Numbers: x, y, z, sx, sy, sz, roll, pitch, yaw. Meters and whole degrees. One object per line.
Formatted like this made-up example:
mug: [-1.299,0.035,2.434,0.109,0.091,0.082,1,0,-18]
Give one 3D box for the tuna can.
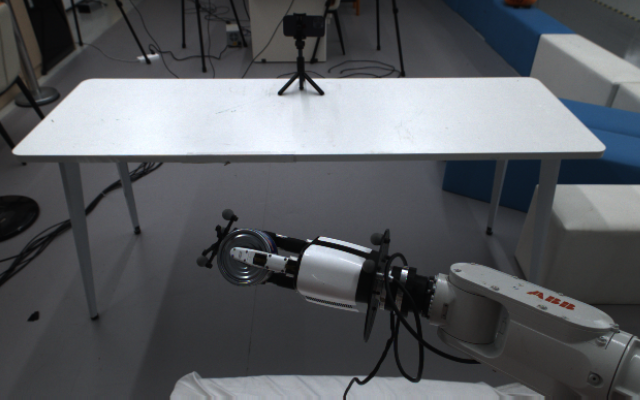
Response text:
tuna can: [-0.104,0.088,0.708,0.085,0.085,0.034,9,-3,10]
